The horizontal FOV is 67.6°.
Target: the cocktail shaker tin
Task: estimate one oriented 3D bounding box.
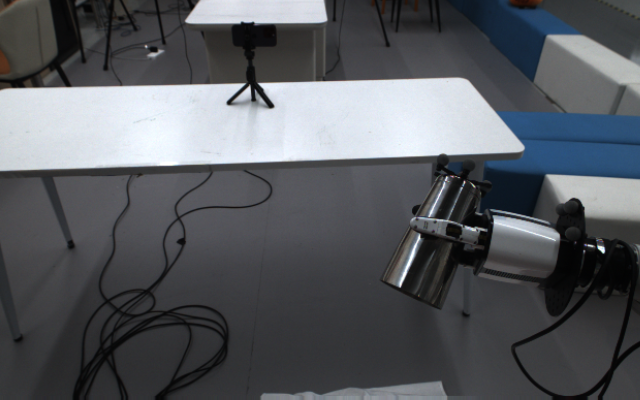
[{"bbox_3d":[0.162,0.050,0.673,0.093,0.093,0.170,21,81,25],"label":"cocktail shaker tin"}]
